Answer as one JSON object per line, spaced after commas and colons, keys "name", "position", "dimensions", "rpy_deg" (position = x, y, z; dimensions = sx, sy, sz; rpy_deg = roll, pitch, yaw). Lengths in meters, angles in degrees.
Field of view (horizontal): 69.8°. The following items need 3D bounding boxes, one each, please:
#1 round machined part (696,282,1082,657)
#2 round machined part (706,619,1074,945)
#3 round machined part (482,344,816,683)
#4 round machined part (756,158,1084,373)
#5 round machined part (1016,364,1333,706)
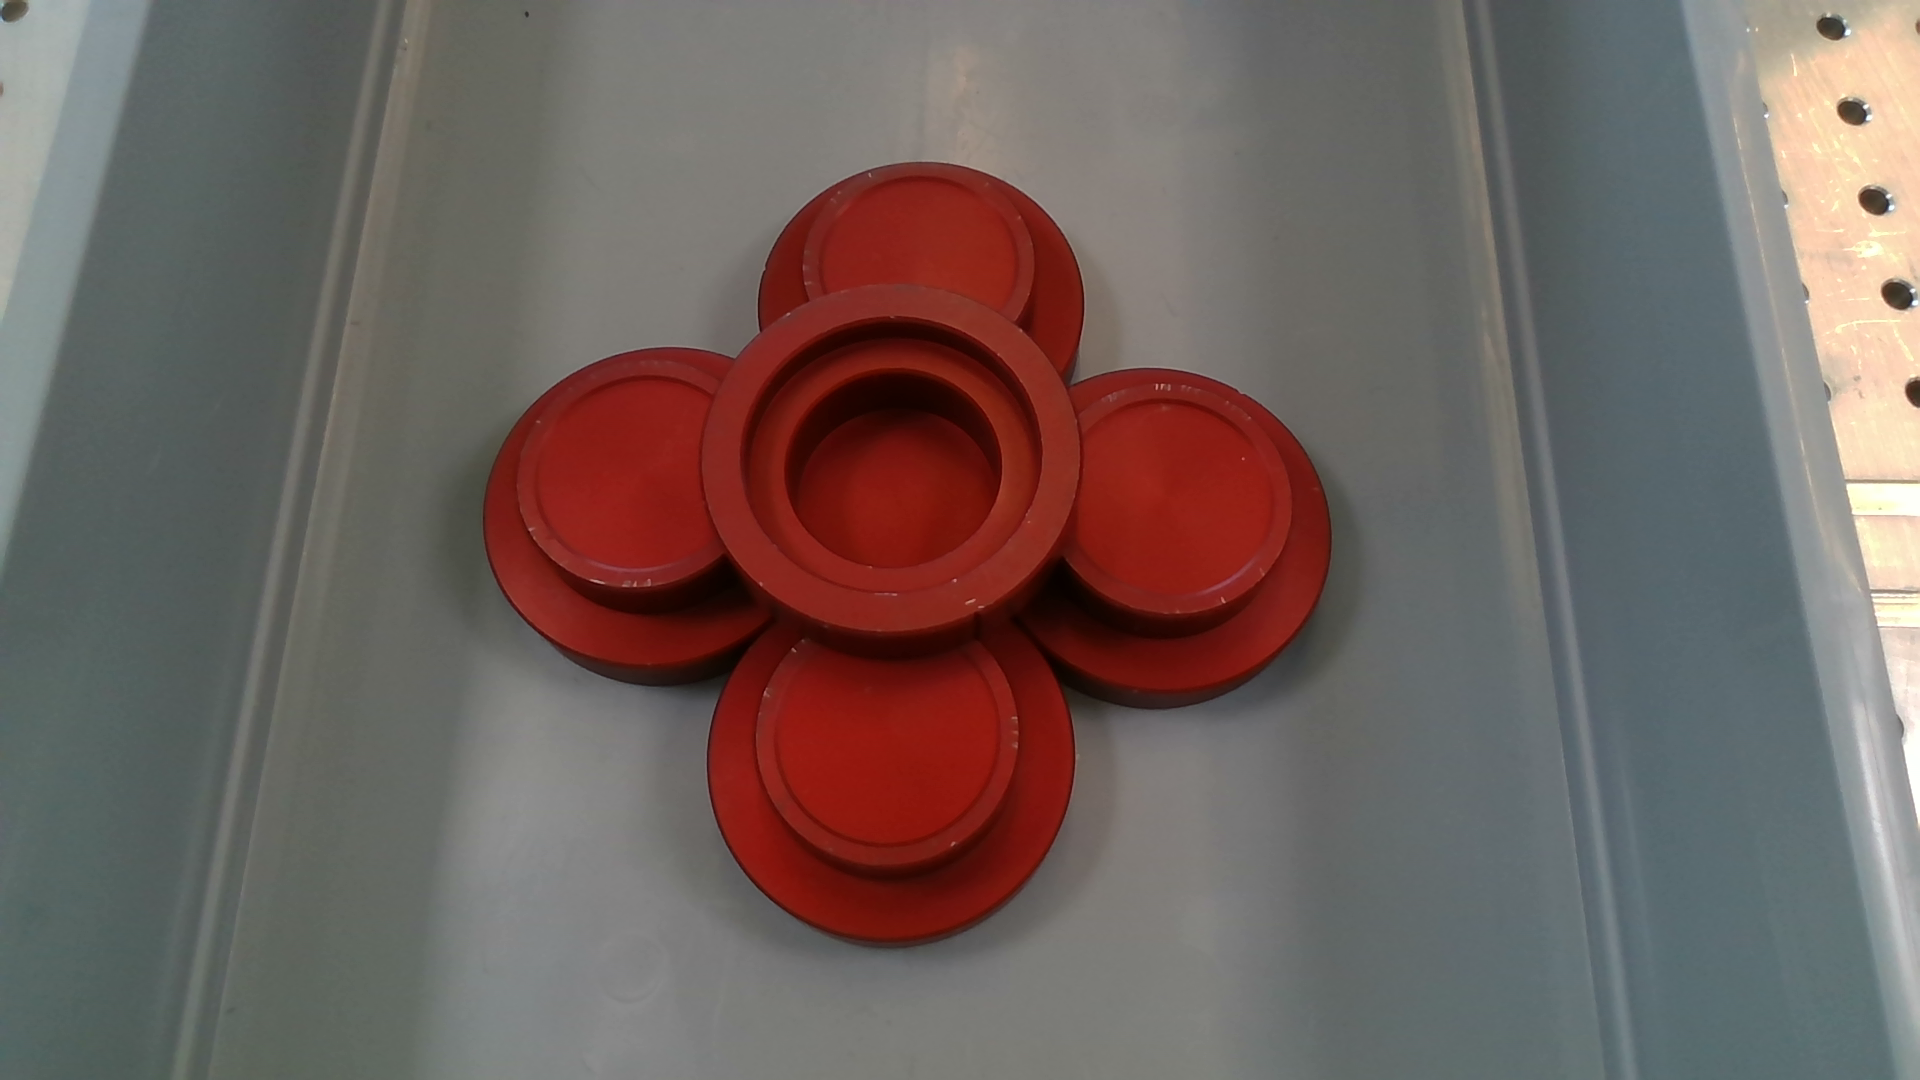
{"name": "round machined part", "position": [-0.018, -0.016, 0.368], "dimensions": [0.098, 0.042, 0.098], "rpy_deg": [0, 70, 0]}
{"name": "round machined part", "position": [-0.019, 0.055, 0.365], "dimensions": [0.098, 0.042, 0.098], "rpy_deg": [0, 70, 0]}
{"name": "round machined part", "position": [-0.086, -0.012, 0.389], "dimensions": [0.098, 0.042, 0.098], "rpy_deg": [1, 72, -2]}
{"name": "round machined part", "position": [-0.012, -0.073, 0.411], "dimensions": [0.098, 0.042, 0.098], "rpy_deg": [0, 70, 0]}
{"name": "round machined part", "position": [0.056, -0.006, 0.386], "dimensions": [0.098, 0.042, 0.098], "rpy_deg": [0, 70, 0]}
